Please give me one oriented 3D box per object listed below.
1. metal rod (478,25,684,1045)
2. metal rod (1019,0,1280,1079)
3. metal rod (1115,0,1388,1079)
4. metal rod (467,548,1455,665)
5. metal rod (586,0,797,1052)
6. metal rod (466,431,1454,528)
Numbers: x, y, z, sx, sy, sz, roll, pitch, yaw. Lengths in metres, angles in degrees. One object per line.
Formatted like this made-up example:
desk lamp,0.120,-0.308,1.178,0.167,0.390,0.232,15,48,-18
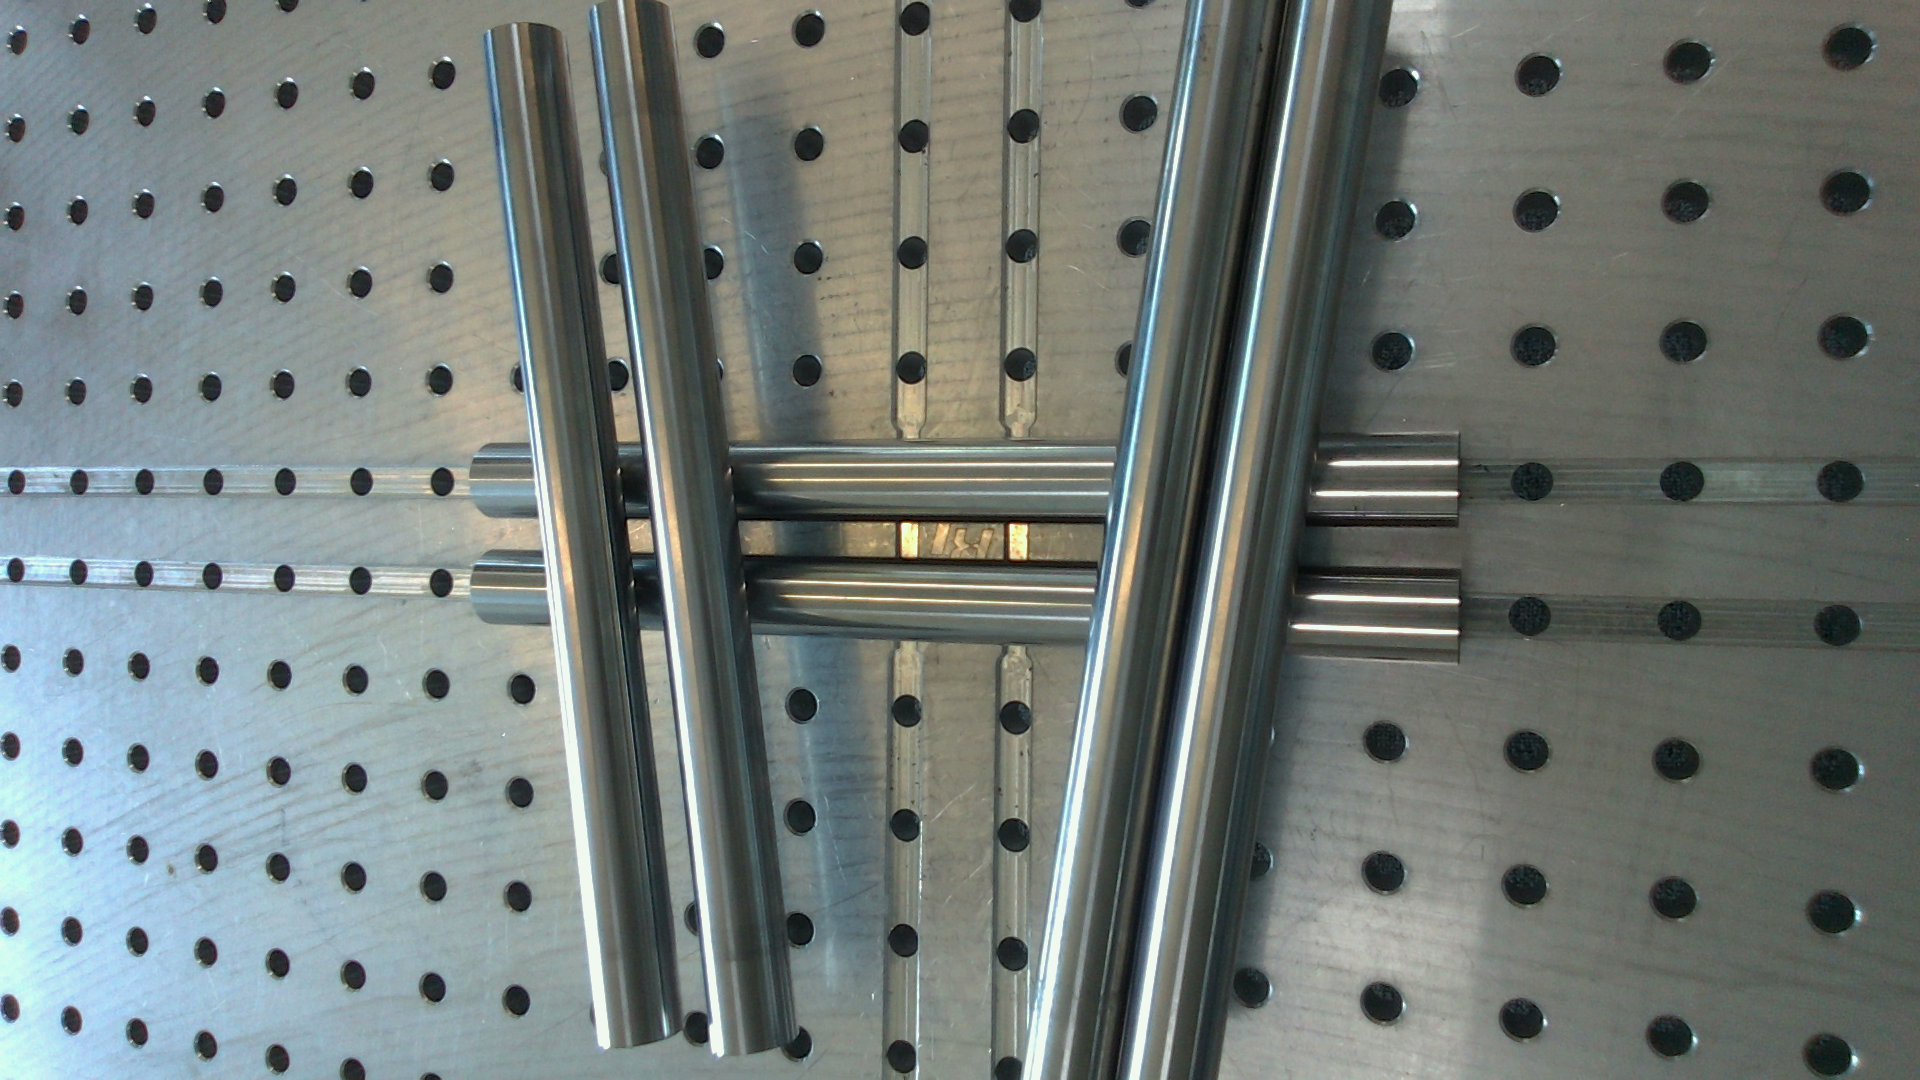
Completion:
metal rod,-0.114,-0.004,0.413,0.025,0.025,0.300,-9,87,20
metal rod,0.049,-0.001,0.355,0.025,0.025,0.300,10,93,20
metal rod,0.073,-0.001,0.346,0.025,0.025,0.300,10,93,20
metal rod,-0.014,0.017,0.404,0.299,0.025,0.025,1,90,20
metal rod,-0.079,-0.006,0.401,0.025,0.025,0.300,-8,87,20
metal rod,-0.014,-0.018,0.404,0.299,0.025,0.025,1,90,20
